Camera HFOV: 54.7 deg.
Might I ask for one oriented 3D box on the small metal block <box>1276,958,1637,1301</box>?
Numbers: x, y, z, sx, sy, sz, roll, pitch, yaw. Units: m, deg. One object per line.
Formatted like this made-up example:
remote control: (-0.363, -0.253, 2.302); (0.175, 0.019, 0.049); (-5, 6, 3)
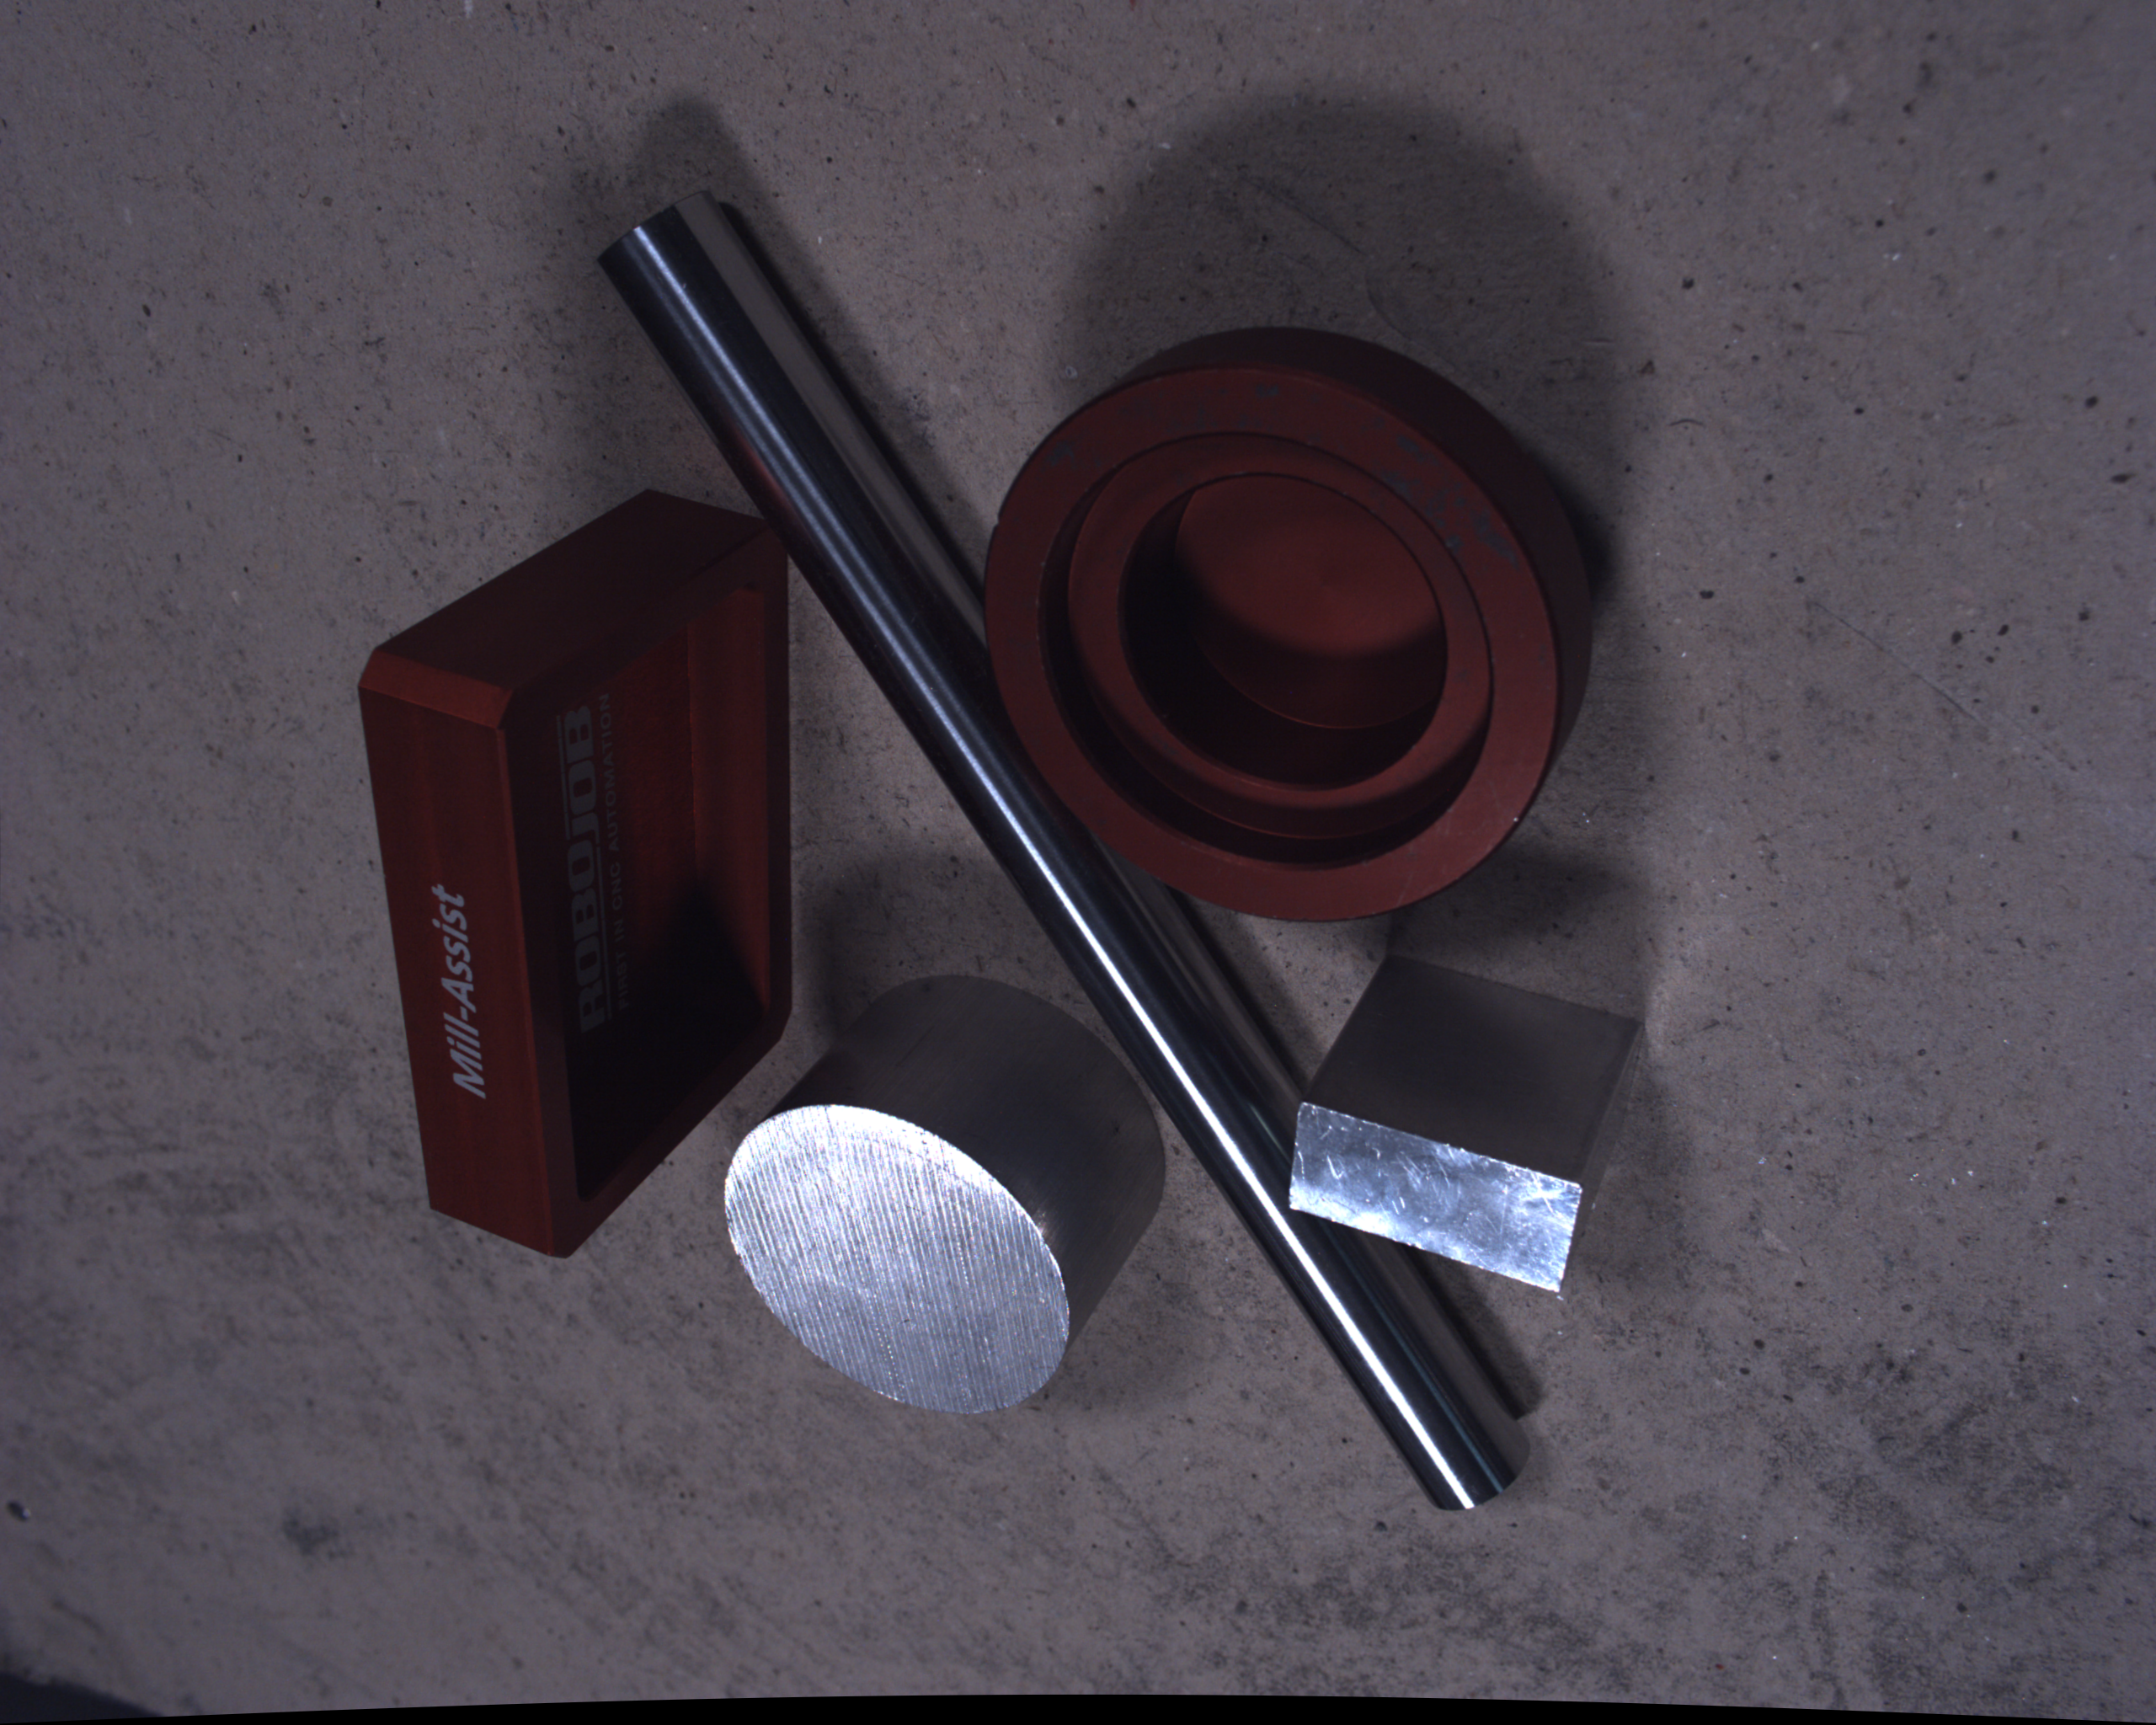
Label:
small metal block: (0.069, 0.047, 0.380); (0.050, 0.050, 0.025); (16, 125, 19)

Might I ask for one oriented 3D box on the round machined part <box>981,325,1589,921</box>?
round machined part: (0.037, -0.042, 0.351); (0.098, 0.042, 0.097); (13, 124, 20)

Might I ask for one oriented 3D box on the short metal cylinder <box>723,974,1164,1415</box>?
short metal cylinder: (-0.028, 0.071, 0.449); (0.080, 0.050, 0.079); (13, 124, 20)

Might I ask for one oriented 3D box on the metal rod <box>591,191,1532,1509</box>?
metal rod: (0.004, 0.007, 0.410); (0.025, 0.025, 0.299); (-24, 106, 36)

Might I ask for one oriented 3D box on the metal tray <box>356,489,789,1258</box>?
metal tray: (-0.094, 0.002, 0.416); (0.030, 0.090, 0.129); (17, 125, 18)
